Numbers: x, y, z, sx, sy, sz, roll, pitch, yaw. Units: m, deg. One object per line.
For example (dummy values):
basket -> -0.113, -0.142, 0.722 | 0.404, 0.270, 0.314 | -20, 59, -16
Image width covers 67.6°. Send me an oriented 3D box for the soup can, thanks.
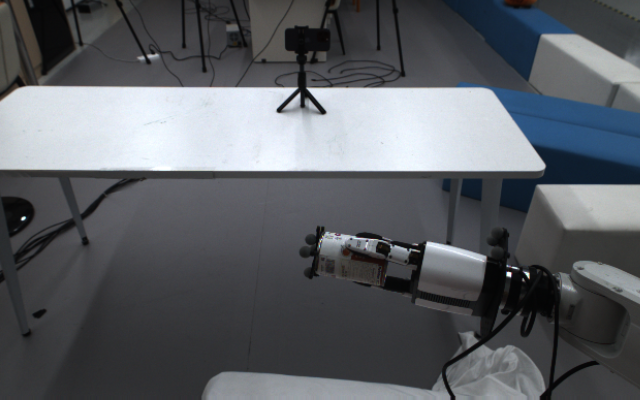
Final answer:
soup can -> 0.052, 0.086, 0.715 | 0.101, 0.067, 0.067 | 8, 35, 9
